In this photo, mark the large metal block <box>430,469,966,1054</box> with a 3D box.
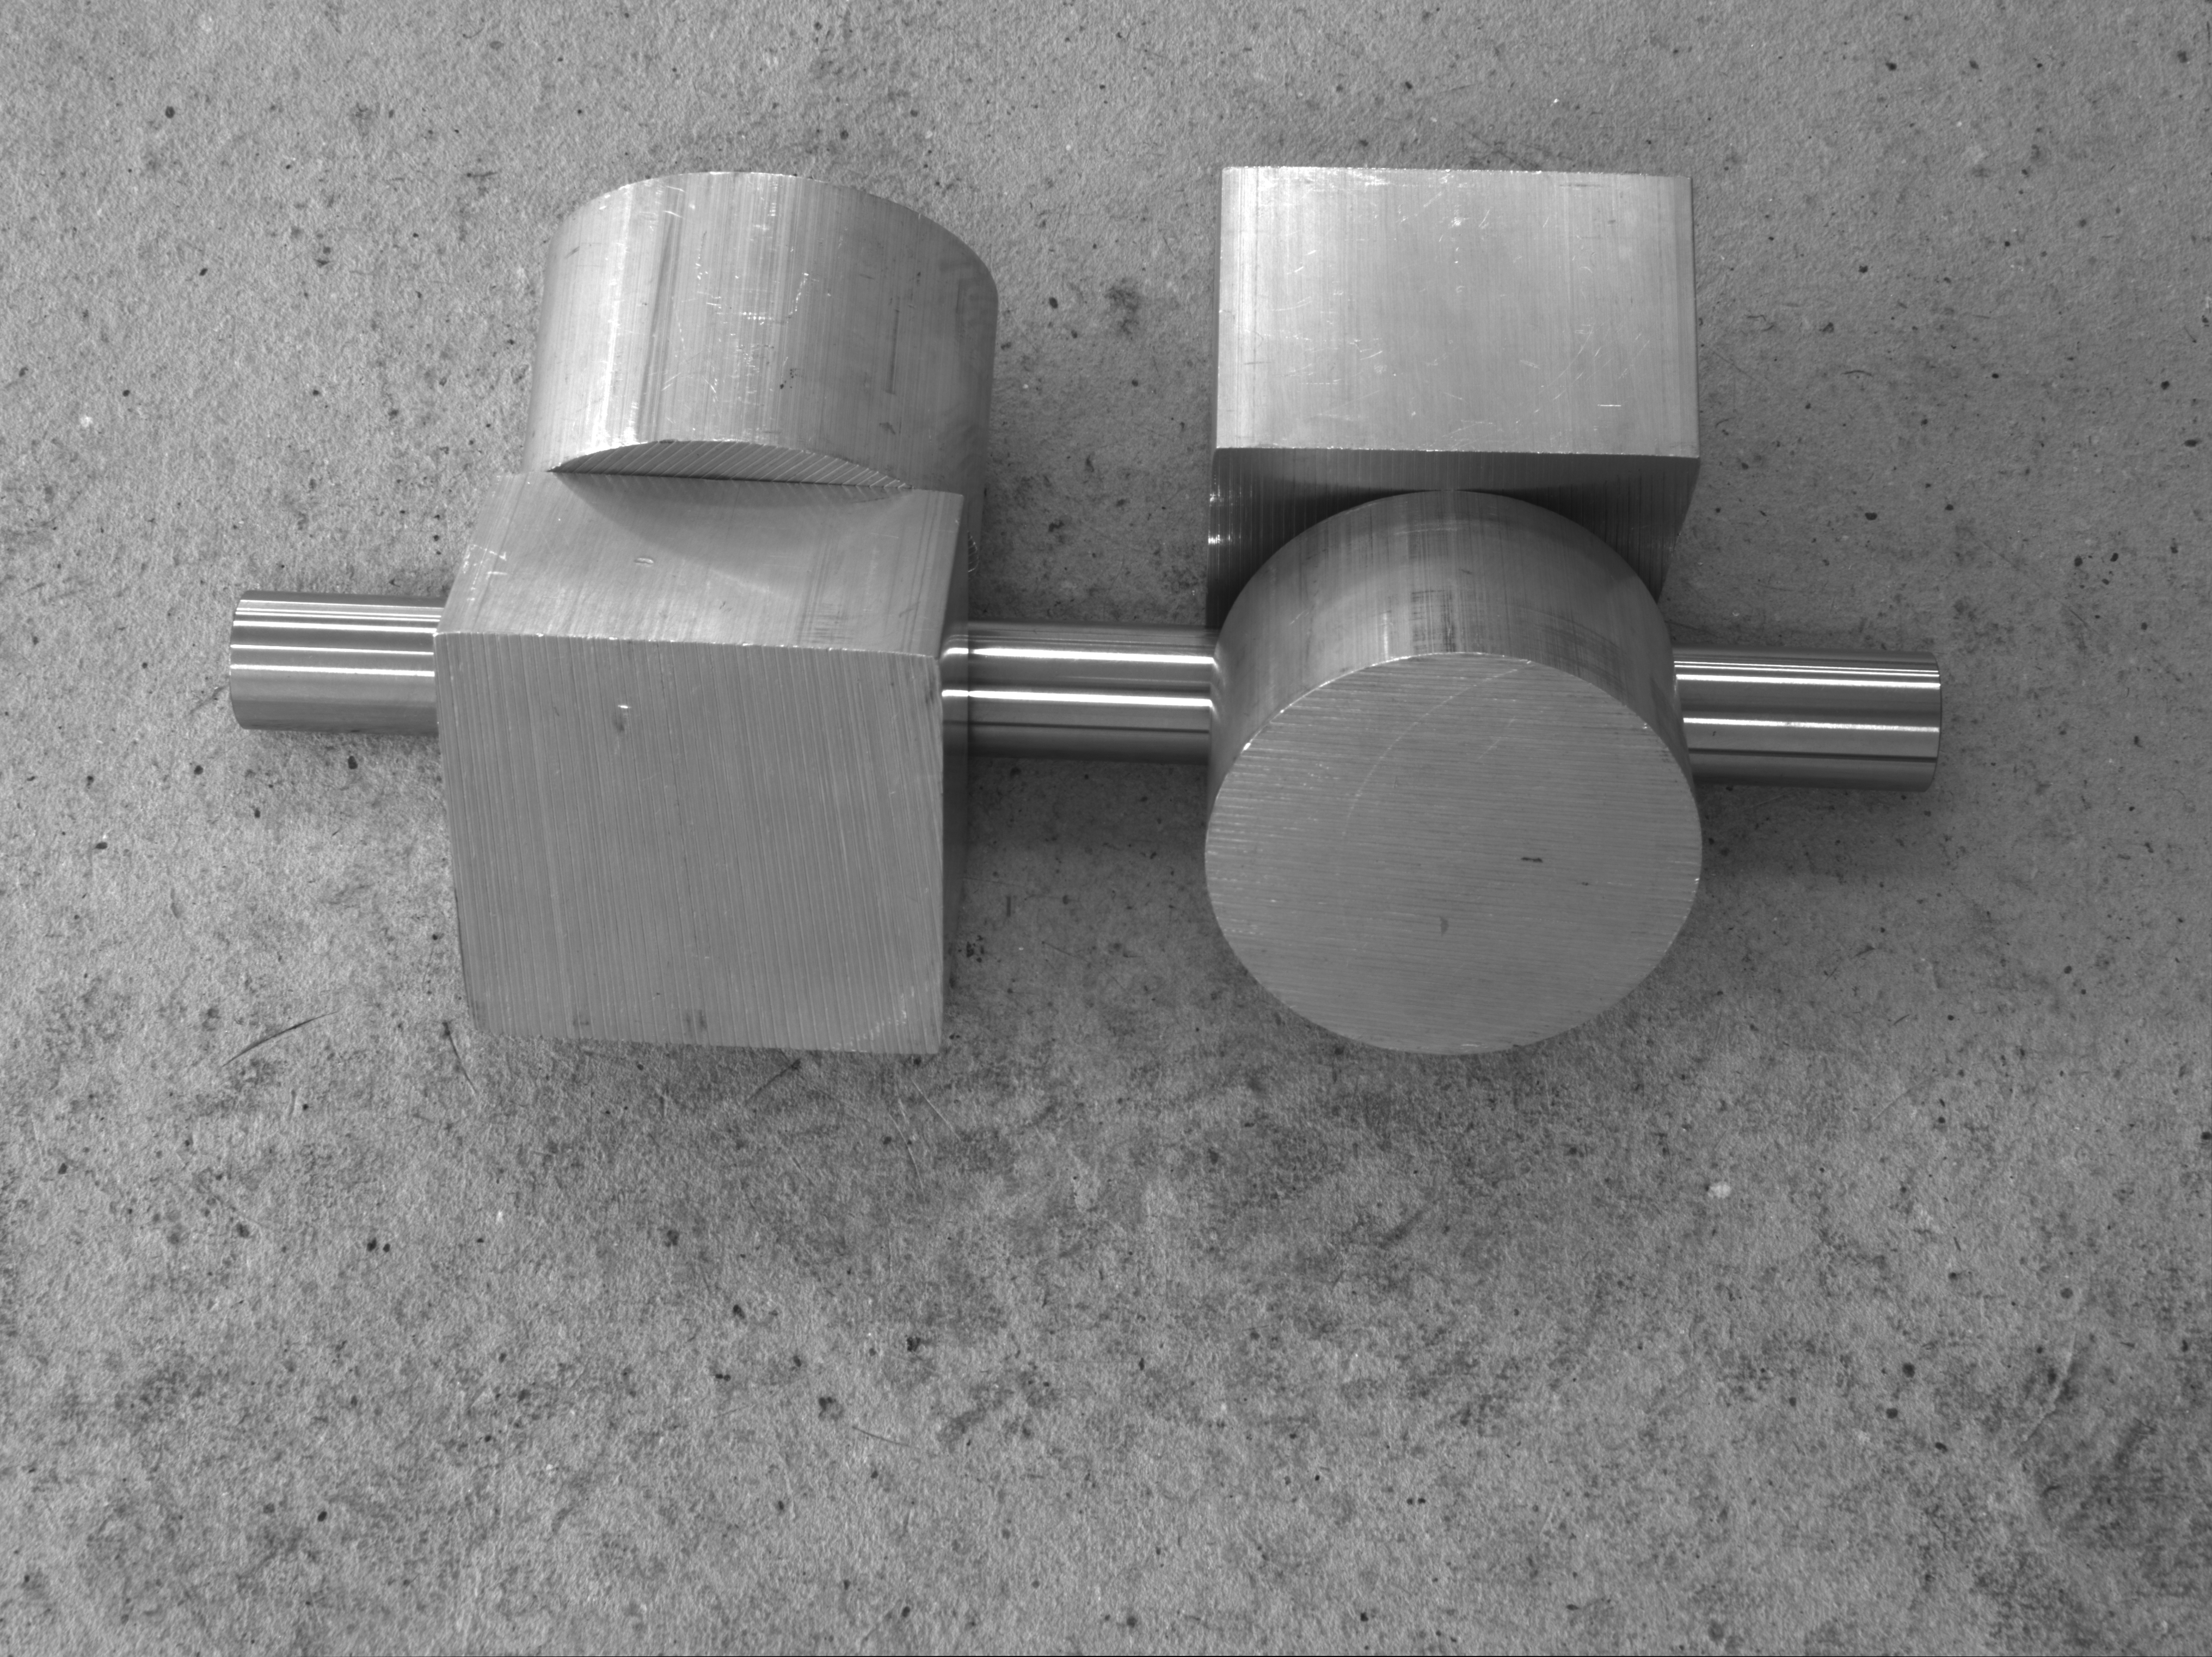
[{"bbox_3d":[-0.065,-0.011,0.614,0.080,0.080,0.050,3,36,1],"label":"large metal block"}]

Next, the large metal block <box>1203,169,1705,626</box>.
[{"bbox_3d":[0.058,-0.072,0.642,0.080,0.080,0.050,1,70,1],"label":"large metal block"}]

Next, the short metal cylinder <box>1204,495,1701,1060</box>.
[{"bbox_3d":[0.057,-0.008,0.613,0.080,0.080,0.050,2,35,1],"label":"short metal cylinder"}]

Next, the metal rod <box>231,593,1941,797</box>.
[{"bbox_3d":[-0.004,-0.024,0.656,0.300,0.025,0.025,2,70,1],"label":"metal rod"}]

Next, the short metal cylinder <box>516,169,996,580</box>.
[{"bbox_3d":[-0.061,-0.073,0.643,0.080,0.080,0.050,3,70,1],"label":"short metal cylinder"}]
